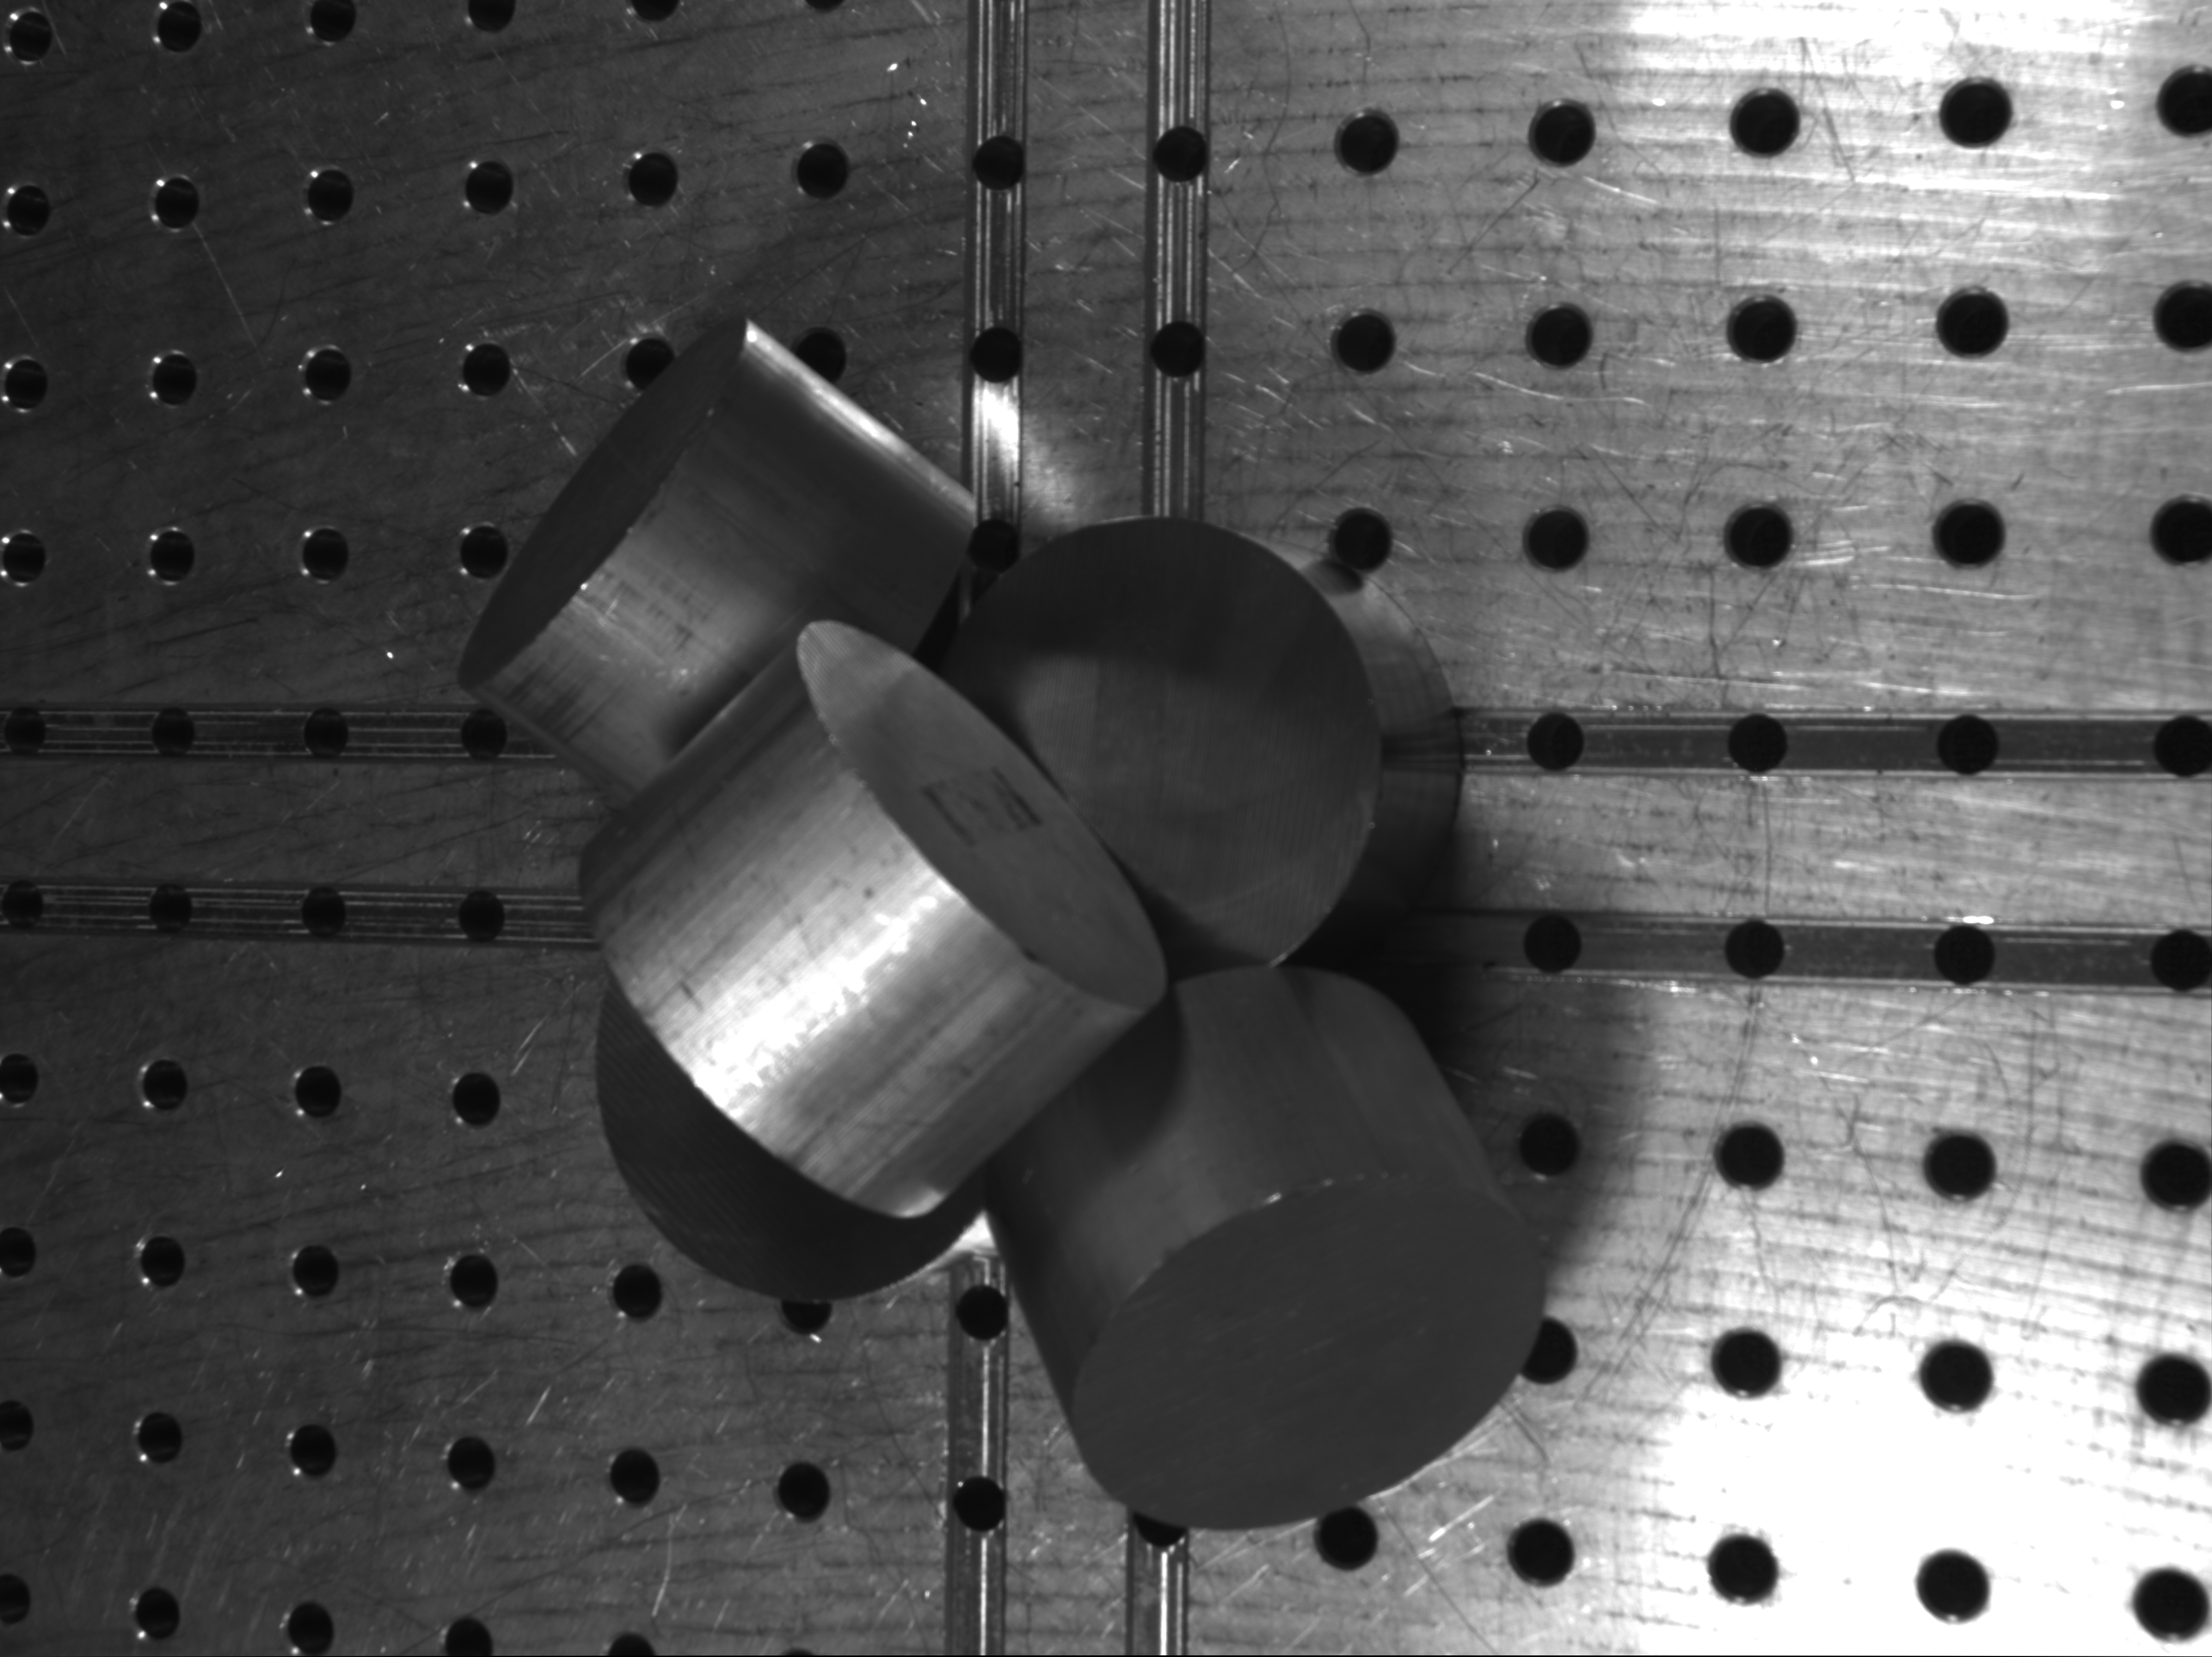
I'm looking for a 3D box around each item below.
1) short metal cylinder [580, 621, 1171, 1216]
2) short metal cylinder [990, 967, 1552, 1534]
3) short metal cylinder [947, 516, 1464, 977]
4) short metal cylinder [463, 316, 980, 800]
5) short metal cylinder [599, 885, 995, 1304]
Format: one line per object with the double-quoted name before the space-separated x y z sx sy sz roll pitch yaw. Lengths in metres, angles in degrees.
"short metal cylinder" -0.036 0.014 0.576 0.050 0.080 0.080 -43 77 15
"short metal cylinder" 0.026 0.069 0.600 0.080 0.080 0.050 -42 41 15
"short metal cylinder" 0.016 -0.011 0.627 0.080 0.050 0.080 0 90 20
"short metal cylinder" -0.067 -0.041 0.634 0.050 0.080 0.080 37 104 -19
"short metal cylinder" -0.042 0.041 0.648 0.080 0.050 0.080 0 90 20
